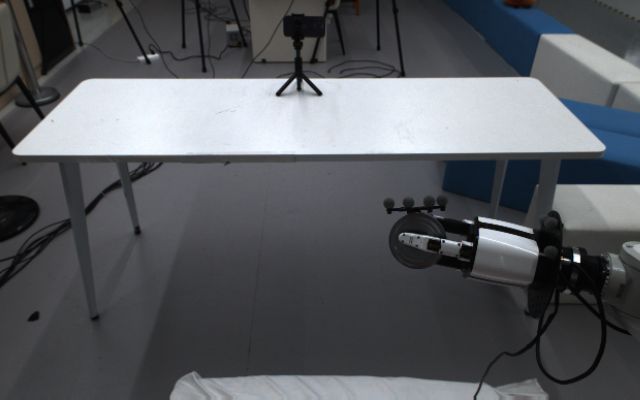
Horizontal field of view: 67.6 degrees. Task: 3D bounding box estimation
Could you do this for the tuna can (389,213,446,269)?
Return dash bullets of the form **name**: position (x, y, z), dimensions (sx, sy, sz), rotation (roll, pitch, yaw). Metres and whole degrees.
- **tuna can**: position (0.150, 0.060, 0.740), dimensions (0.085, 0.085, 0.034), rotation (11, 2, 12)
